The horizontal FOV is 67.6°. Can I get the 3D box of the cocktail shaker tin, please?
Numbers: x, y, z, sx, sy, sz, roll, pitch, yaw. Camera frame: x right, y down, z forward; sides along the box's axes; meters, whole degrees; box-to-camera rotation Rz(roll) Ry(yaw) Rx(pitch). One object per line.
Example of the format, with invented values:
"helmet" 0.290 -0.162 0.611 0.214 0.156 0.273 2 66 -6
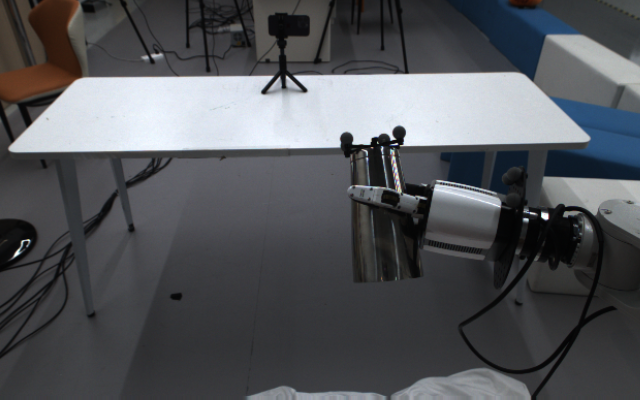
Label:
"cocktail shaker tin" 0.082 0.020 0.644 0.093 0.170 0.093 -6 -7 -1
